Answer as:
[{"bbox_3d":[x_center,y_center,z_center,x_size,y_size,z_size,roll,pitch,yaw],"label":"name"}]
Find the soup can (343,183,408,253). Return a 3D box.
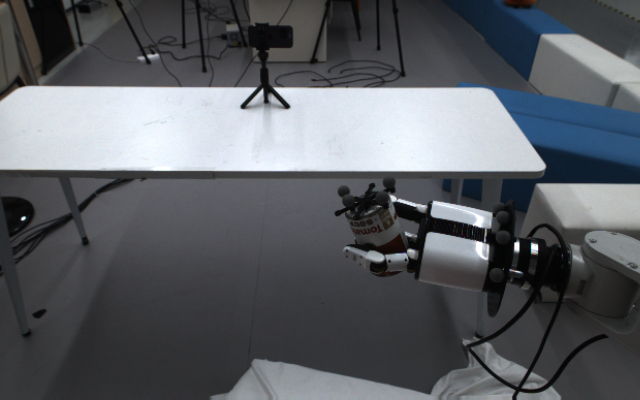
[{"bbox_3d":[0.085,0.046,0.675,0.067,0.101,0.067,-21,24,10],"label":"soup can"}]
